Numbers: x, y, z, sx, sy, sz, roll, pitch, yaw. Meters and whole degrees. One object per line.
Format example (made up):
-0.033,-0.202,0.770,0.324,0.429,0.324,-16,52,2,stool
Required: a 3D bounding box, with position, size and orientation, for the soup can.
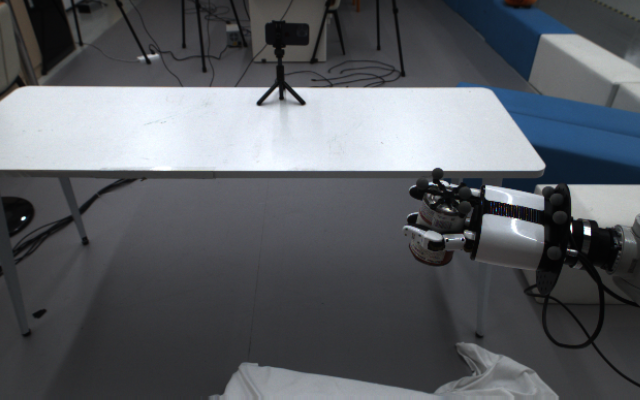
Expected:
0.177,0.038,0.715,0.067,0.101,0.067,5,36,-3,soup can
